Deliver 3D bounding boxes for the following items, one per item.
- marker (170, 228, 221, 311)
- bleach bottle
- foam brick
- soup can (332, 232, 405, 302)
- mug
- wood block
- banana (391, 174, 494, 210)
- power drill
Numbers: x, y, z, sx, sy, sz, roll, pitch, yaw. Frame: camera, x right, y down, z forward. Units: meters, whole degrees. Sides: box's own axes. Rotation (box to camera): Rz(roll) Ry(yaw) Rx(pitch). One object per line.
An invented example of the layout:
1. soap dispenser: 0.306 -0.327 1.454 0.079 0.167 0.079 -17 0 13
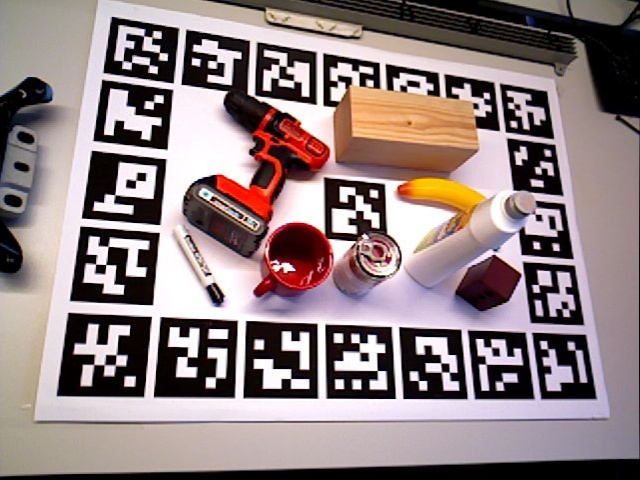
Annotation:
1. marker: -0.165 0.040 0.725 0.019 0.020 0.121 -26 81 -20
2. bleach bottle: 0.200 -0.003 0.711 0.068 0.256 0.101 33 64 -2
3. foam brick: 0.252 0.078 0.795 0.052 0.079 0.050 36 63 1
4. soup can: 0.062 0.037 0.734 0.067 0.104 0.067 7 65 -16
5. mug: -0.045 0.037 0.721 0.093 0.083 0.115 46 69 1
6. wood block: 0.134 -0.161 0.835 0.204 0.092 0.089 4 71 -14
7. banana: 0.206 -0.062 0.846 0.196 0.039 0.074 21 81 -10
8. power drill: -0.096 -0.099 0.773 0.184 0.058 0.184 34 65 -6
